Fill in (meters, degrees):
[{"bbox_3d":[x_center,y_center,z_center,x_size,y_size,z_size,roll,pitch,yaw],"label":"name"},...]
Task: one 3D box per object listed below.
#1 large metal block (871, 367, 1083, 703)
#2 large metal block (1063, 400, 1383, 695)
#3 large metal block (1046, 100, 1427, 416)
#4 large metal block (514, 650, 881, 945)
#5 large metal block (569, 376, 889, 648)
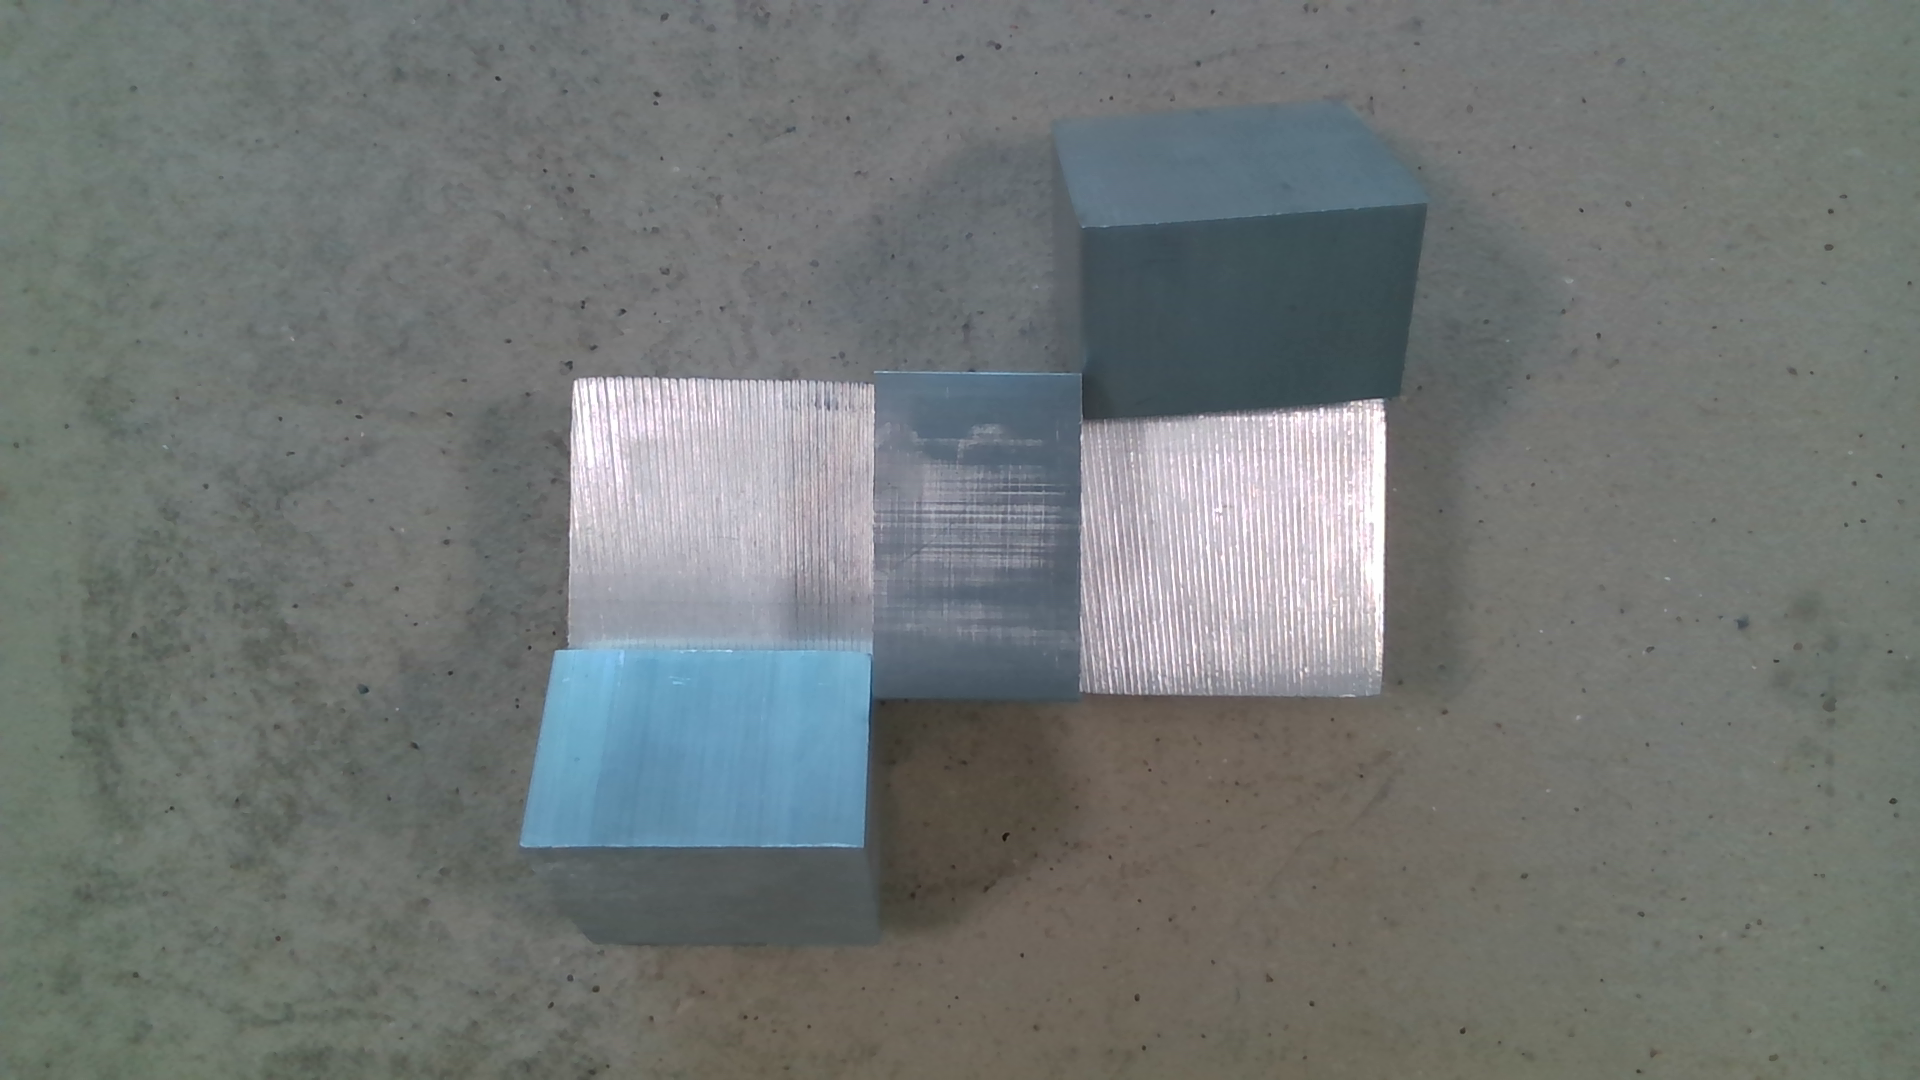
[{"bbox_3d":[0.004,-0.001,0.368,0.050,0.080,0.080,0,90,0],"label":"large metal block"},{"bbox_3d":[0.069,0.000,0.381,0.080,0.050,0.080,0,90,0],"label":"large metal block"},{"bbox_3d":[0.066,-0.076,0.361,0.080,0.080,0.050,-4,124,0],"label":"large metal block"},{"bbox_3d":[-0.062,0.070,0.361,0.080,0.080,0.050,0,58,0],"label":"large metal block"},{"bbox_3d":[-0.061,-0.002,0.383,0.080,0.050,0.080,1,90,1],"label":"large metal block"}]
